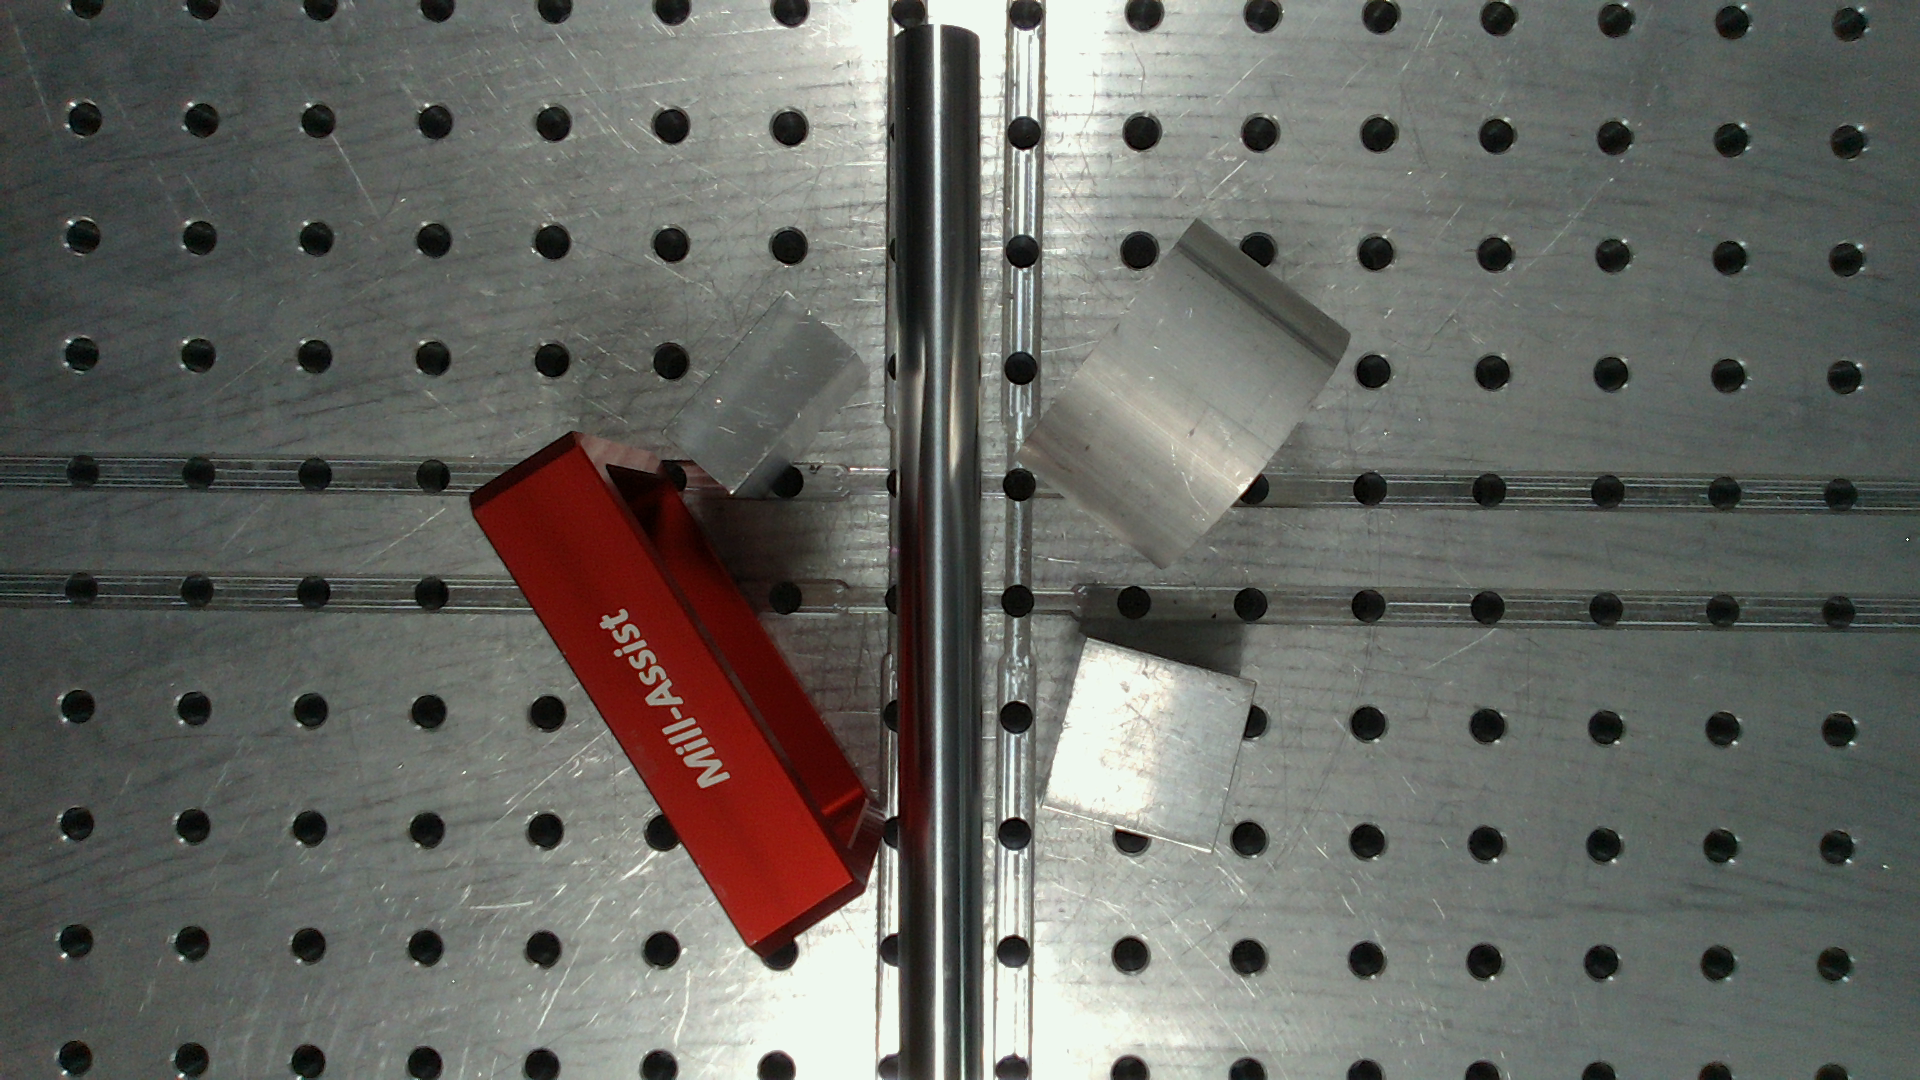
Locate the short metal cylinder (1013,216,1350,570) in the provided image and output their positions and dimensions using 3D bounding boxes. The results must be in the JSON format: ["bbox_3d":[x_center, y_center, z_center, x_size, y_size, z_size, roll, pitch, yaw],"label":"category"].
[{"bbox_3d":[0.058,-0.039,0.370,0.050,0.080,0.080,37,90,0],"label":"short metal cylinder"}]

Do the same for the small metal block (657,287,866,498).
[{"bbox_3d":[-0.053,-0.039,0.384,0.025,0.050,0.050,41,90,0],"label":"small metal block"}]

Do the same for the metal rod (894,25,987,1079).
[{"bbox_3d":[-0.006,0.006,0.397,0.025,0.025,0.300,0,90,0],"label":"metal rod"}]

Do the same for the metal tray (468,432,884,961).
[{"bbox_3d":[-0.069,0.037,0.364,0.030,0.090,0.130,-32,90,0],"label":"metal tray"}]

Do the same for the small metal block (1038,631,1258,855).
[{"bbox_3d":[0.053,0.058,0.399,0.050,0.025,0.050,15,90,0],"label":"small metal block"}]
